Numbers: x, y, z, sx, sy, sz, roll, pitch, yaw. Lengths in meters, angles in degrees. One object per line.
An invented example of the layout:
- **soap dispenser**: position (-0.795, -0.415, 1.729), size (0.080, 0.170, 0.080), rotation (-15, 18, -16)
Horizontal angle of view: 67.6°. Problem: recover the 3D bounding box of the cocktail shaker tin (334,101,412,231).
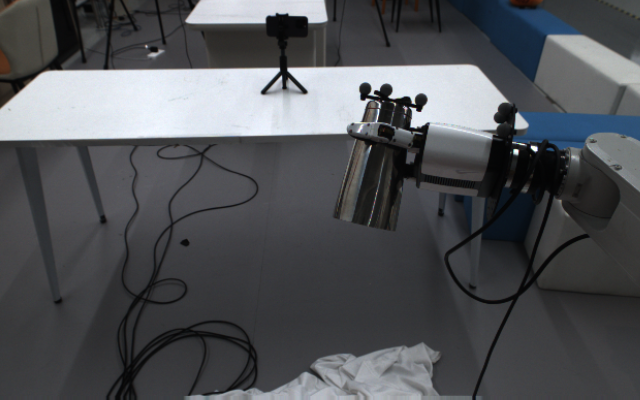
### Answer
- **cocktail shaker tin**: position (0.083, -0.051, 0.687), size (0.093, 0.170, 0.093), rotation (13, 1, 0)
